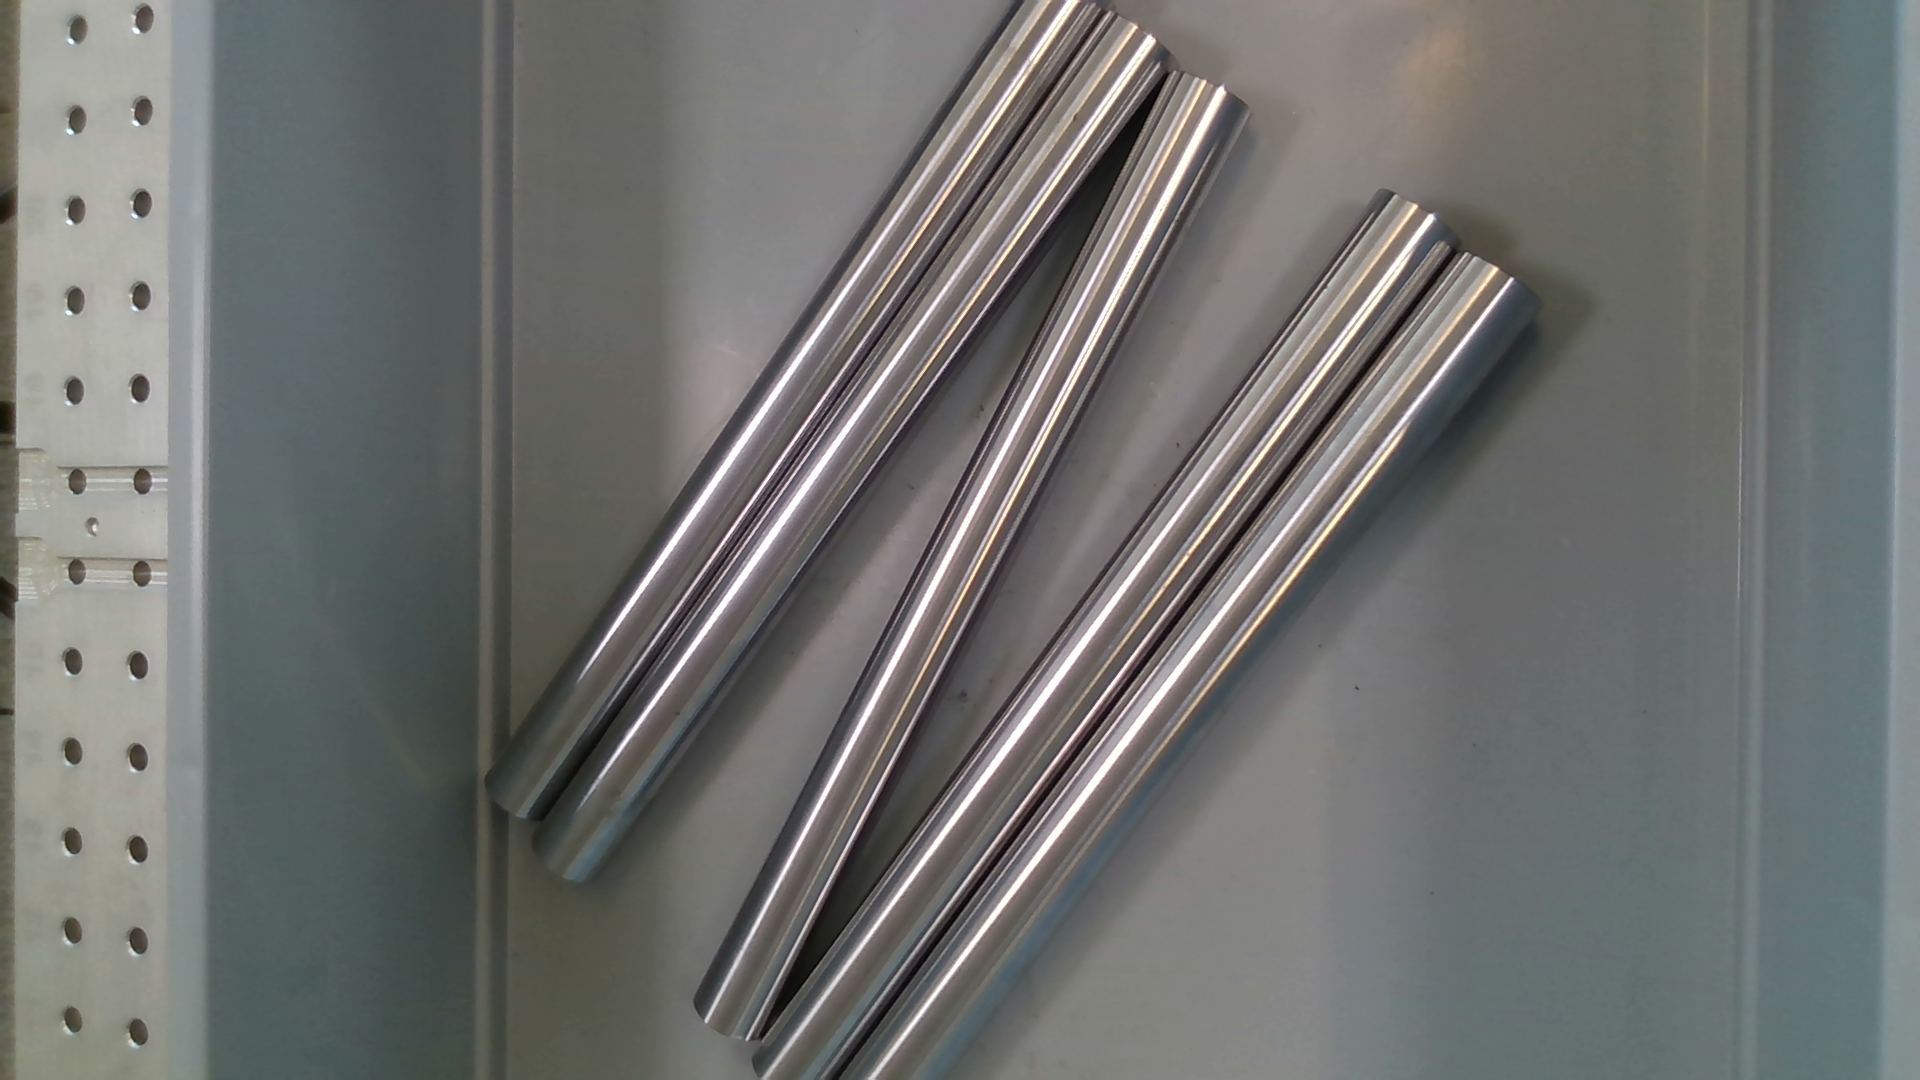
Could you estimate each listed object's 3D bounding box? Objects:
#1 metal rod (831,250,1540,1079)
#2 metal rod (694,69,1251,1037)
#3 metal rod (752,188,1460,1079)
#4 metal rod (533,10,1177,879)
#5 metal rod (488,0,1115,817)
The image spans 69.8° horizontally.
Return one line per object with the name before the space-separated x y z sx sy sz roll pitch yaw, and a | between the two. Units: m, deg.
metal rod | 0.050 0.055 0.375 0.025 0.025 0.300 38 103 16
metal rod | -0.001 0.012 0.394 0.025 0.025 0.300 31 100 17
metal rod | 0.032 0.038 0.382 0.025 0.025 0.300 38 103 16
metal rod | -0.038 -0.018 0.407 0.025 0.025 0.300 40 103 16
metal rod | -0.054 -0.036 0.413 0.025 0.025 0.300 40 103 16
